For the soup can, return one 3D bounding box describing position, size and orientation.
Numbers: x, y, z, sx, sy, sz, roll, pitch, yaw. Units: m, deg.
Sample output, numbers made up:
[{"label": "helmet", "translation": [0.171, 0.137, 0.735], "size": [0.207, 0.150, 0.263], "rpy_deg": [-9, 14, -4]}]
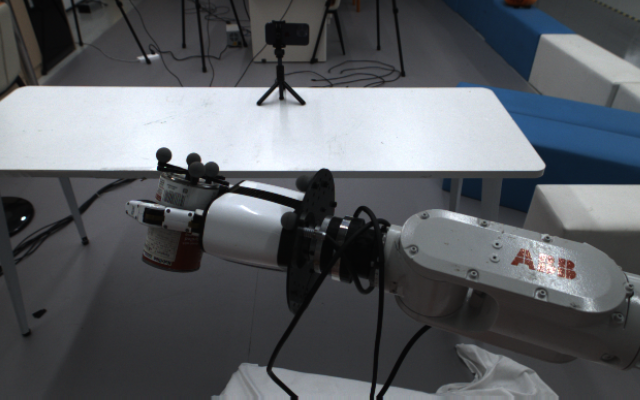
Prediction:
[{"label": "soup can", "translation": [-0.157, 0.024, 0.553], "size": [0.067, 0.101, 0.067], "rpy_deg": [15, 7, -2]}]
